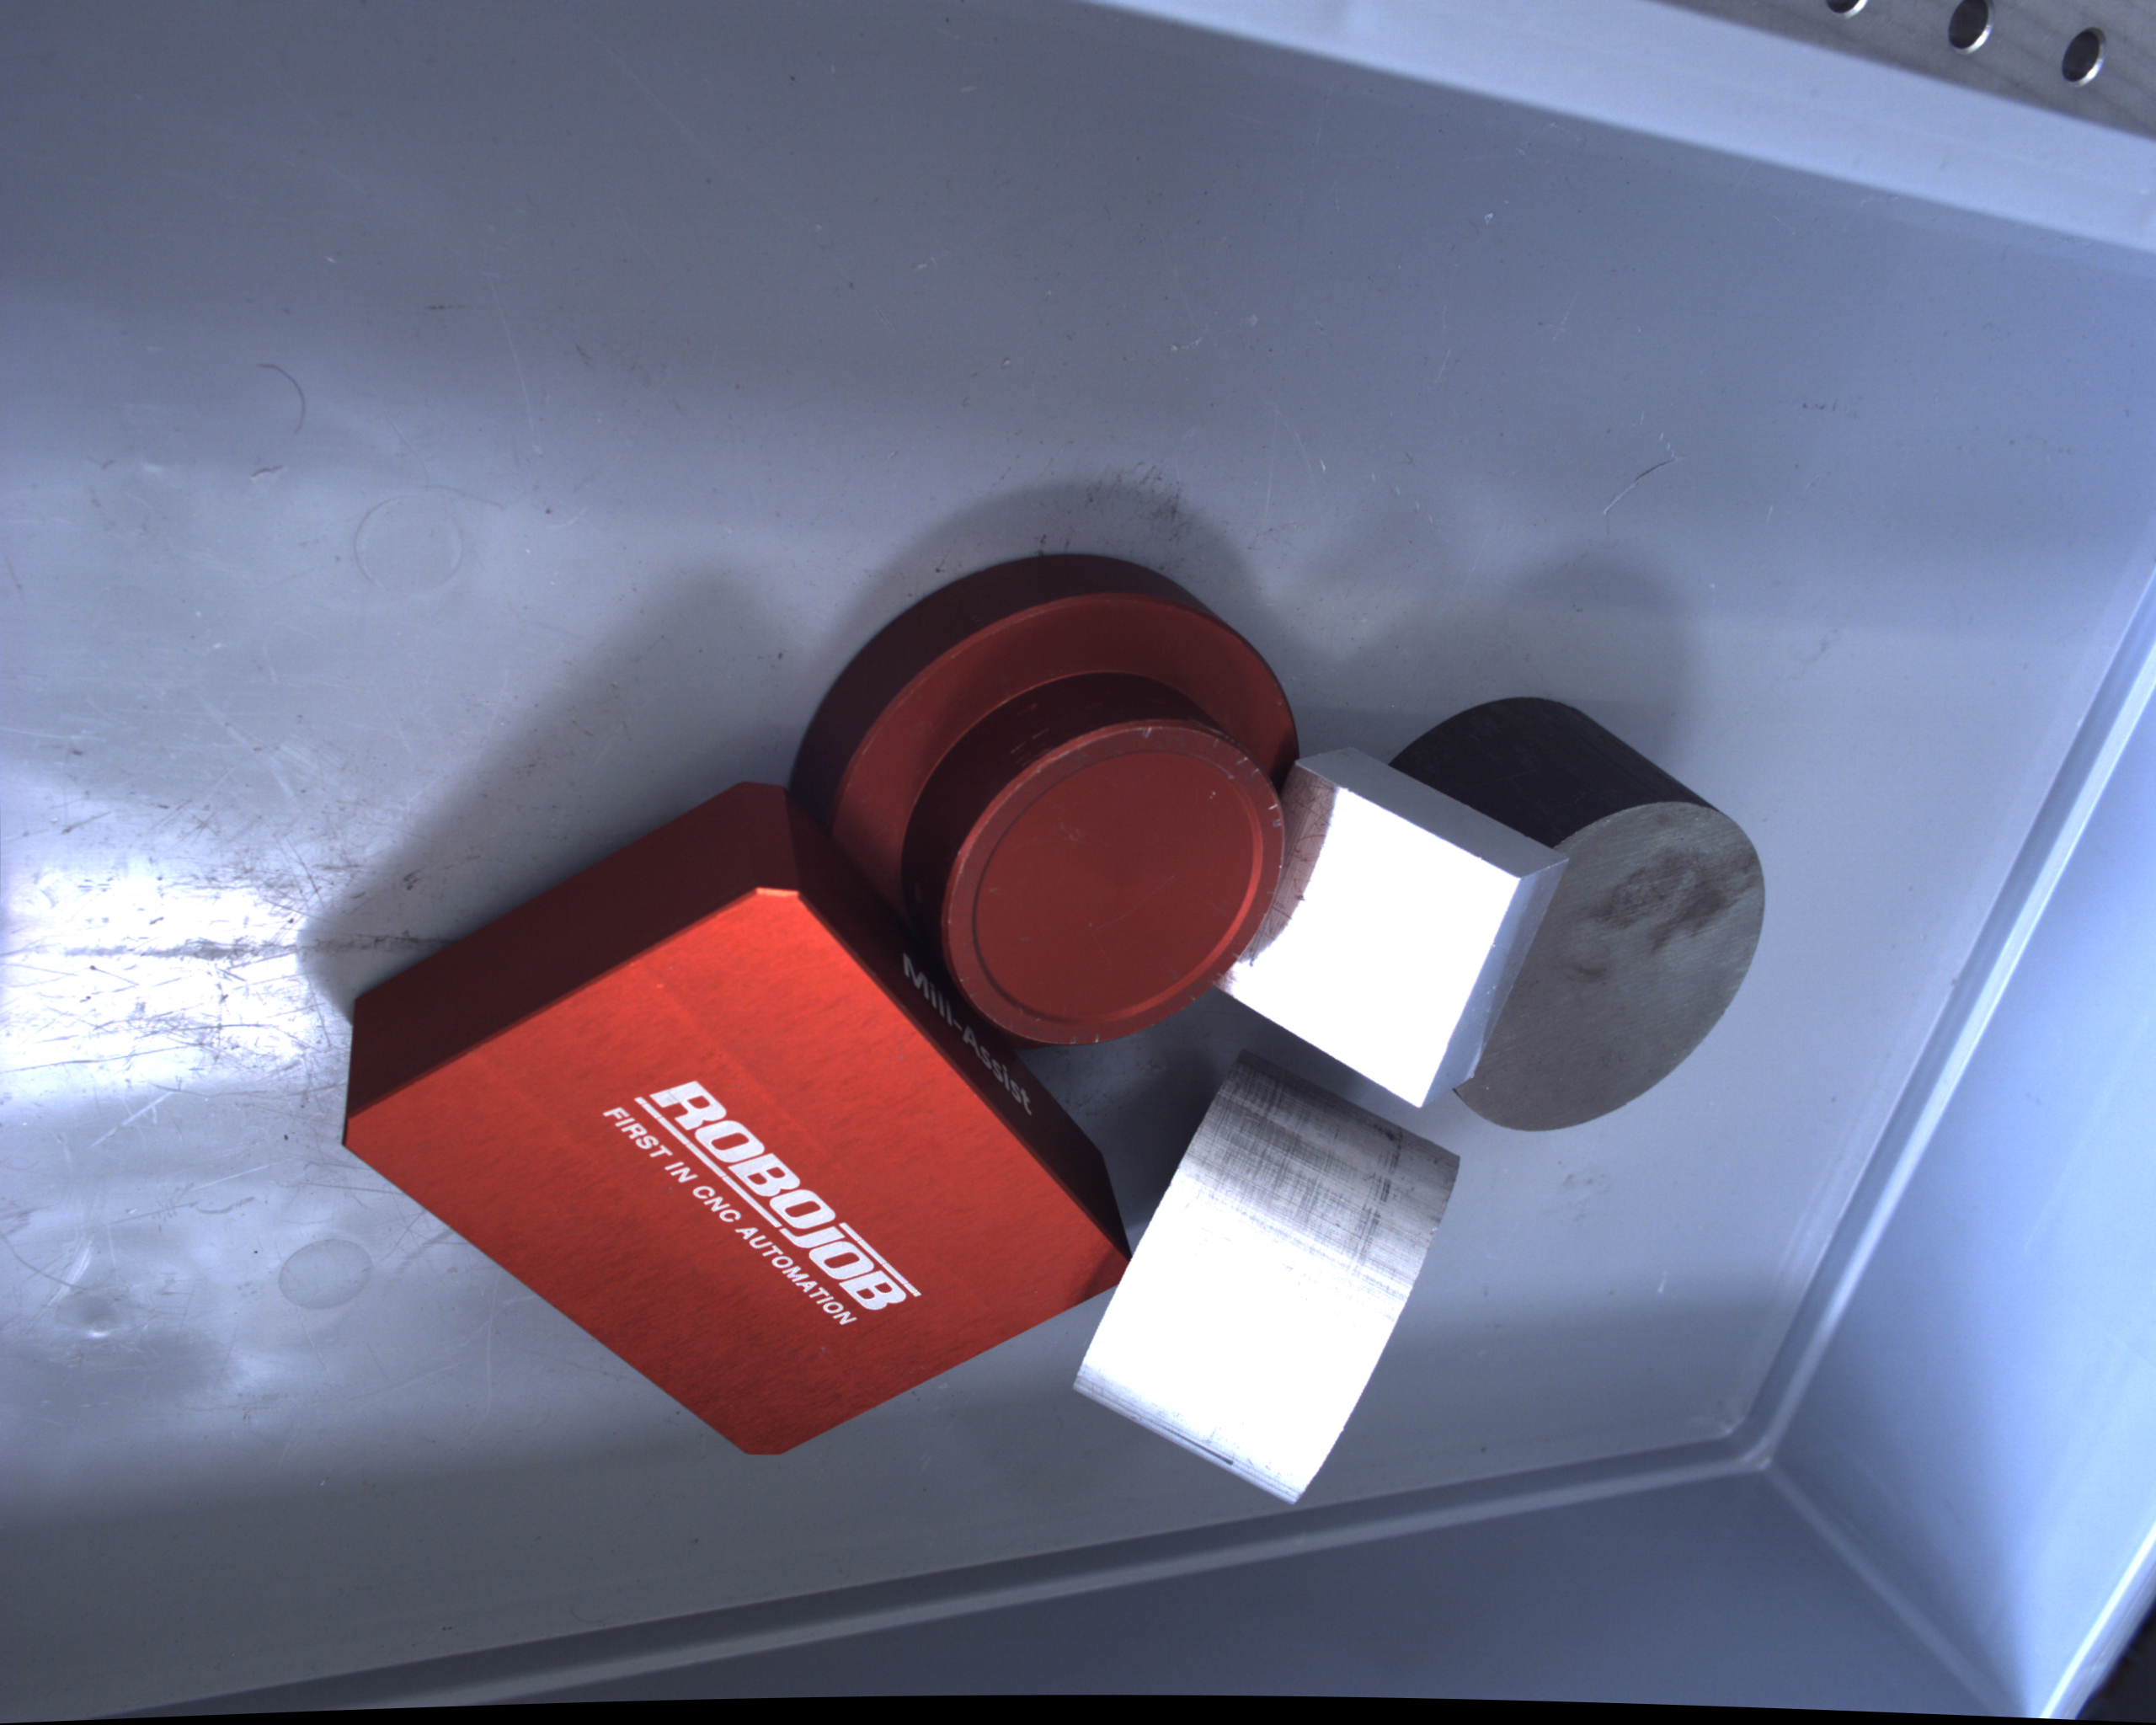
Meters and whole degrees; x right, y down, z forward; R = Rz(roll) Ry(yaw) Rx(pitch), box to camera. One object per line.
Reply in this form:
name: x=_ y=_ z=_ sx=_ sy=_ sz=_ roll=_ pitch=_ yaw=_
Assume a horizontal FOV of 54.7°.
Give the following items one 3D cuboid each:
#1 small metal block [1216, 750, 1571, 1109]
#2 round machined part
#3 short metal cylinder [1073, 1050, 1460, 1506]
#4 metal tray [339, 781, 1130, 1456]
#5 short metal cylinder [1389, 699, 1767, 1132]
small metal block: x=0.060 y=0.012 z=0.407 sx=0.025 sy=0.050 sz=0.050 roll=-15 pitch=129 yaw=-55
round machined part: x=-0.001 y=-0.005 z=0.391 sx=0.099 sy=0.042 sz=0.097 roll=-14 pitch=124 yaw=-21
short metal cylinder: x=0.040 y=0.086 z=0.438 sx=0.050 sy=0.080 sz=0.079 roll=26 pitch=110 yaw=8
metal tray: x=-0.059 y=0.054 z=0.389 sx=0.090 sy=0.030 sz=0.130 roll=-29 pitch=130 yaw=9
short metal cylinder: x=0.100 y=0.011 z=0.452 sx=0.081 sy=0.050 sz=0.079 roll=-14 pitch=124 yaw=-21
